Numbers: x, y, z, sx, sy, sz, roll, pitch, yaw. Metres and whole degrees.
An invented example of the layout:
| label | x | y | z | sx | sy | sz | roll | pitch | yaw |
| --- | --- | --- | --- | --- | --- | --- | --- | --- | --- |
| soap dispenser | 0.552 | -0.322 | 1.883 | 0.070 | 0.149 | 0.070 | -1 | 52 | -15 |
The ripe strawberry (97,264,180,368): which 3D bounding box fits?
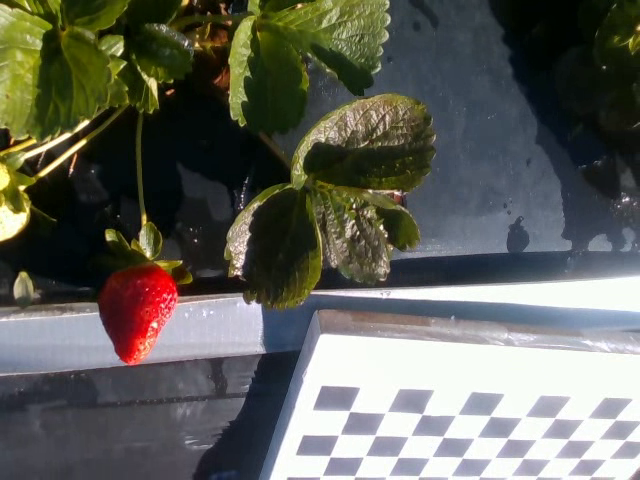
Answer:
| label | x | y | z | sx | sy | sz | roll | pitch | yaw |
| --- | --- | --- | --- | --- | --- | --- | --- | --- | --- |
| ripe strawberry | -0.074 | 0.031 | 0.244 | 0.036 | 0.046 | 0.038 | 7 | -37 | -11 |
